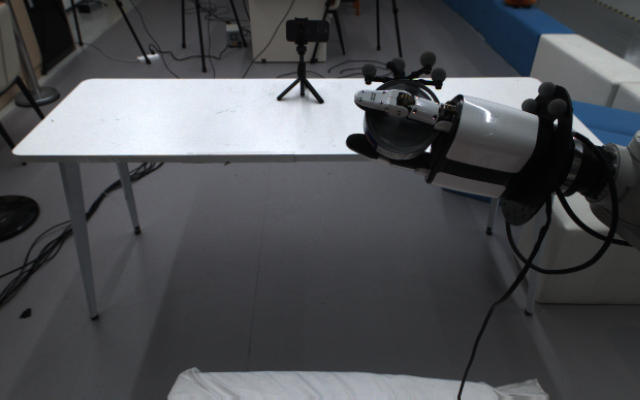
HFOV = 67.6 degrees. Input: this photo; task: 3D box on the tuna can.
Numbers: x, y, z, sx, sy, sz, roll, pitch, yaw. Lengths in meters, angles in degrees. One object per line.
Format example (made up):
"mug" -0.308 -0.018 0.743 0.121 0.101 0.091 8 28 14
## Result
"tuna can" 0.093 -0.091 0.547 0.085 0.034 0.085 0 76 0
